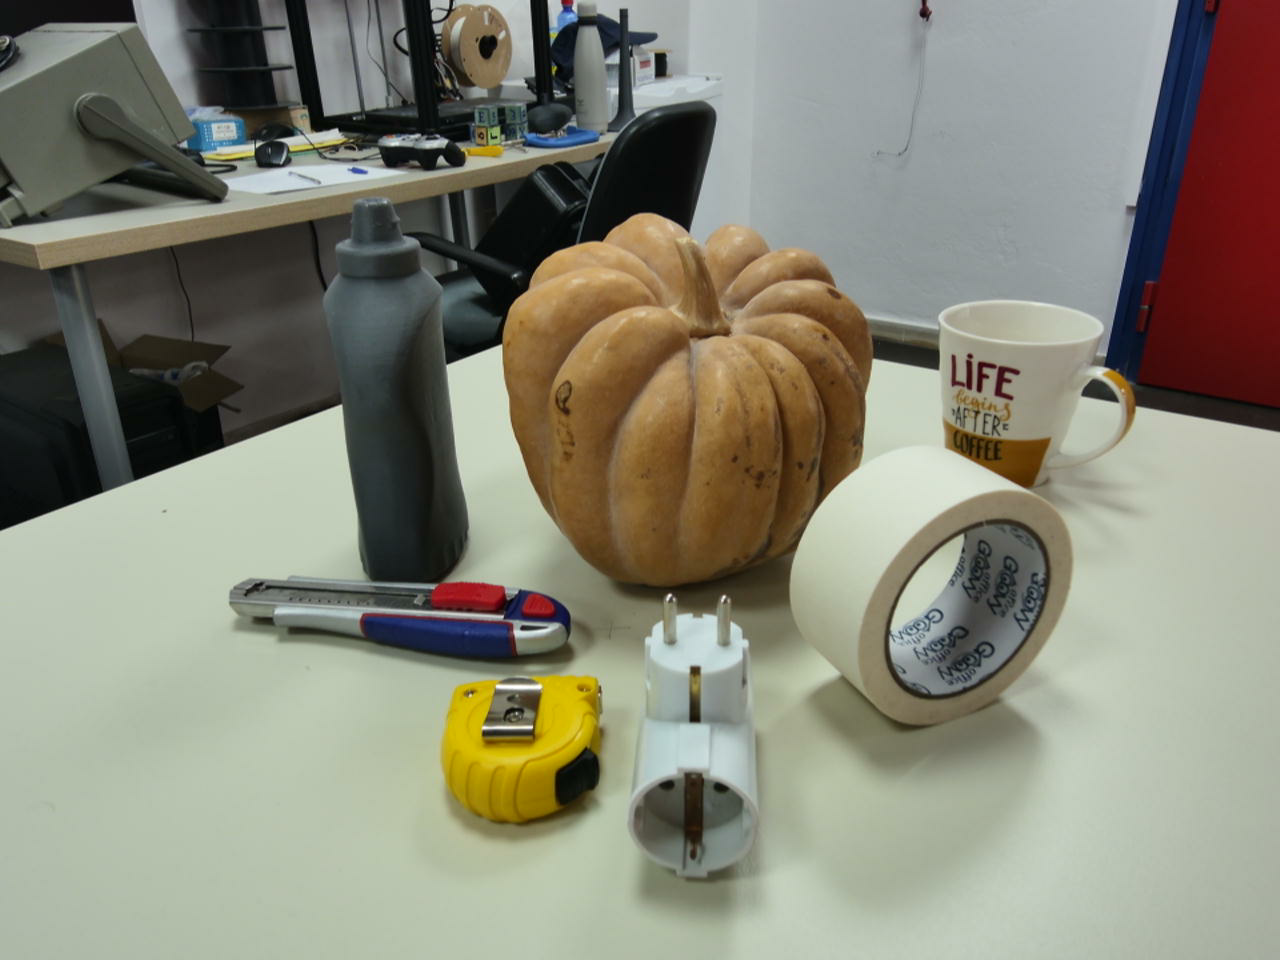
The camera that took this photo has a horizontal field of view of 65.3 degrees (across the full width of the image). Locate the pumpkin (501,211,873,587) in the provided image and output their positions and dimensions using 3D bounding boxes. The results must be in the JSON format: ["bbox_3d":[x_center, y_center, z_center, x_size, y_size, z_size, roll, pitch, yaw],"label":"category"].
[{"bbox_3d":[0.023,-0.040,0.521,0.199,0.177,0.198,0,24,0],"label":"pumpkin"}]
